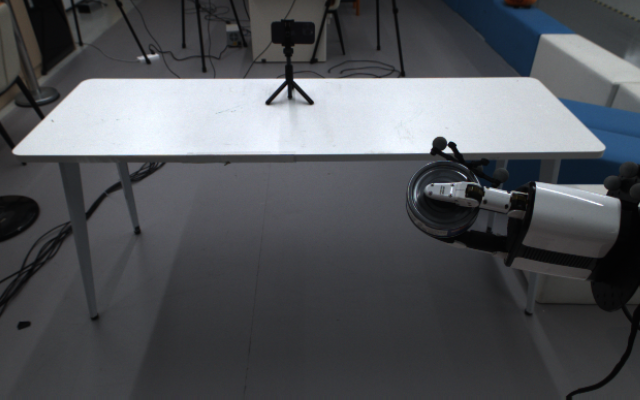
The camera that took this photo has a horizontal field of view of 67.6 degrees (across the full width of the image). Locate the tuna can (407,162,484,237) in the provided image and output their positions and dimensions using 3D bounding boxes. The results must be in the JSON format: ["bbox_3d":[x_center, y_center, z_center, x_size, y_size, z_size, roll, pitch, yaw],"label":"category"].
[{"bbox_3d":[0.147,0.004,0.558,0.085,0.034,0.085,-4,69,10],"label":"tuna can"}]
